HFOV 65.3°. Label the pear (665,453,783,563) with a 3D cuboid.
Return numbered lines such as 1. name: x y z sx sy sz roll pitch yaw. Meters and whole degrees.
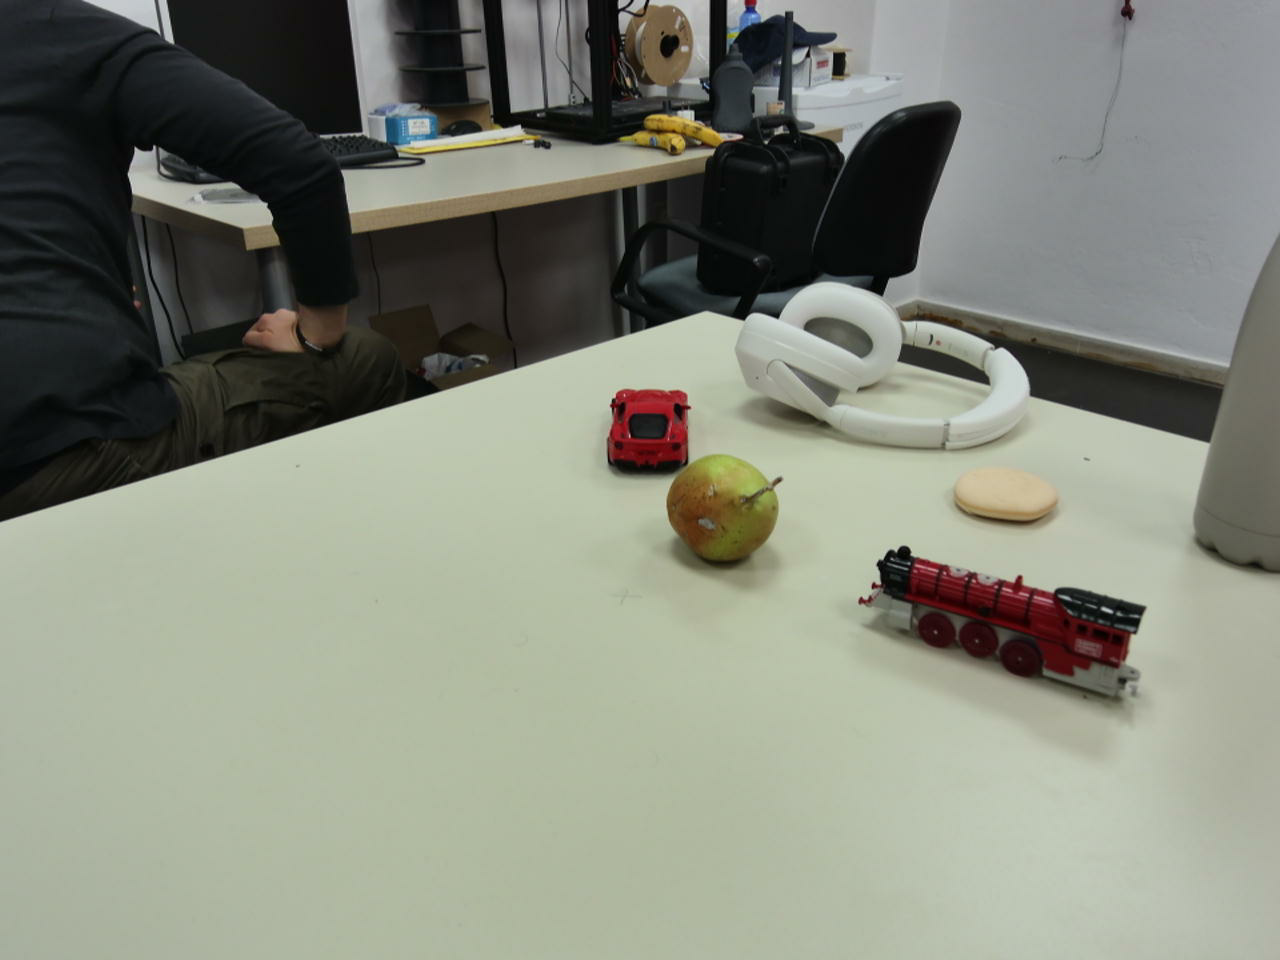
1. pear: 0.049 0.015 0.600 0.068 0.069 0.070 5 25 8
